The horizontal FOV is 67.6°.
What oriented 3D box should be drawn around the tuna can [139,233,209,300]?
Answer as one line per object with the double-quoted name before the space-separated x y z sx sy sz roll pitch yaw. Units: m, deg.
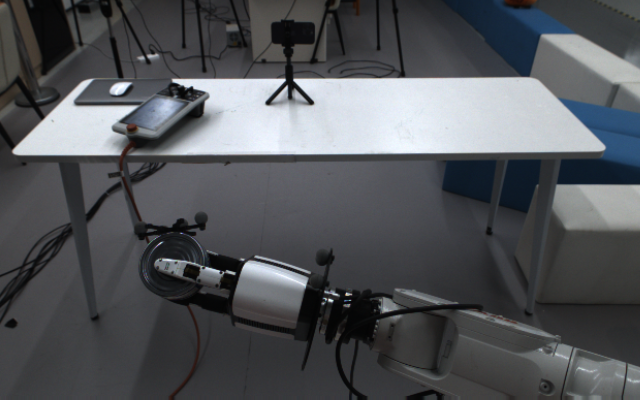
"tuna can" -0.185 0.092 0.625 0.085 0.034 0.085 0 72 -1
